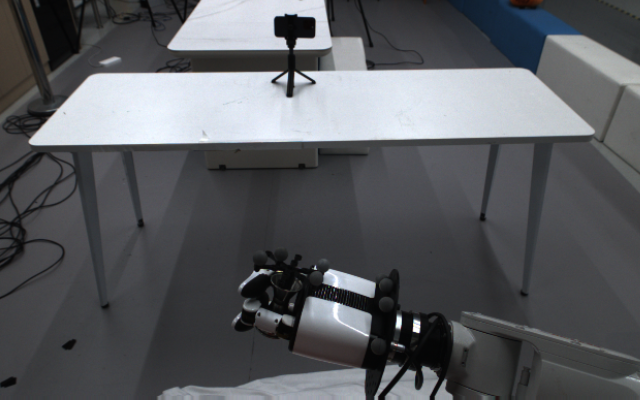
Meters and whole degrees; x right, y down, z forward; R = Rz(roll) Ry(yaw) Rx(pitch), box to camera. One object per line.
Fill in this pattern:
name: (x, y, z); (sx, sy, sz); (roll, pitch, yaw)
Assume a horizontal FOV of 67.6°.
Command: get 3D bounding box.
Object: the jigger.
jigger: (-0.046, 0.129, 0.601); (0.043, 0.071, 0.043); (15, 17, -5)
